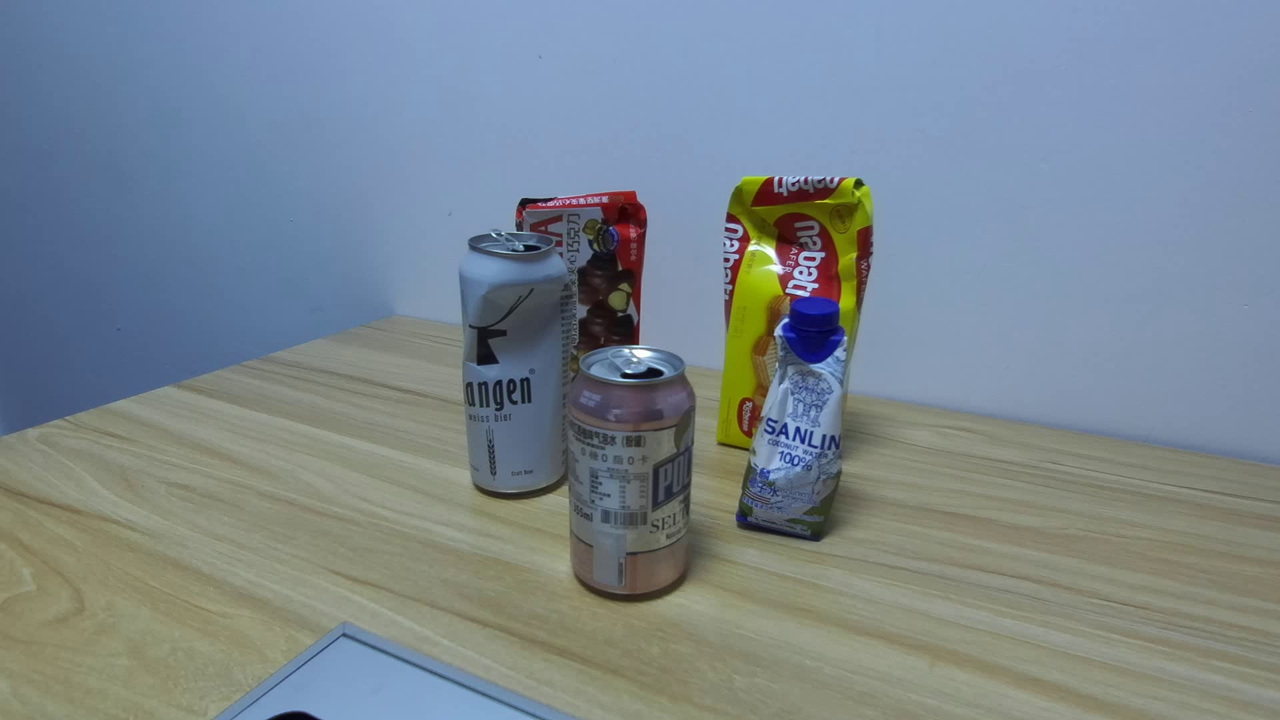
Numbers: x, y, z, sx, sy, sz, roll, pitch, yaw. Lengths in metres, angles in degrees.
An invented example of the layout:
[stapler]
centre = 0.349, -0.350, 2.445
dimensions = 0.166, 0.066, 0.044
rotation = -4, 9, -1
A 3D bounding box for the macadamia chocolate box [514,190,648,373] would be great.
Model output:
[macadamia chocolate box]
centre = -0.045, -0.042, 0.576
dimensions = 0.103, 0.187, 0.027
rotation = -4, 23, -13

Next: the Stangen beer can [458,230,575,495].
[Stangen beer can]
centre = -0.082, 0.003, 0.467
dimensions = 0.070, 0.173, 0.070
rotation = 9, 21, 21

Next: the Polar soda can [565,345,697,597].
[Polar soda can]
centre = -0.005, 0.059, 0.380
dimensions = 0.067, 0.125, 0.067
rotation = 1, 18, 0

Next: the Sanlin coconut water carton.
[Sanlin coconut water carton]
centre = 0.102, 0.033, 0.437
dimensions = 0.056, 0.144, 0.068
rotation = 12, 12, 10

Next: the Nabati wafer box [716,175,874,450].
[Nabati wafer box]
centre = 0.110, -0.029, 0.520
dimensions = 0.113, 0.205, 0.043
rotation = 9, 19, 24
